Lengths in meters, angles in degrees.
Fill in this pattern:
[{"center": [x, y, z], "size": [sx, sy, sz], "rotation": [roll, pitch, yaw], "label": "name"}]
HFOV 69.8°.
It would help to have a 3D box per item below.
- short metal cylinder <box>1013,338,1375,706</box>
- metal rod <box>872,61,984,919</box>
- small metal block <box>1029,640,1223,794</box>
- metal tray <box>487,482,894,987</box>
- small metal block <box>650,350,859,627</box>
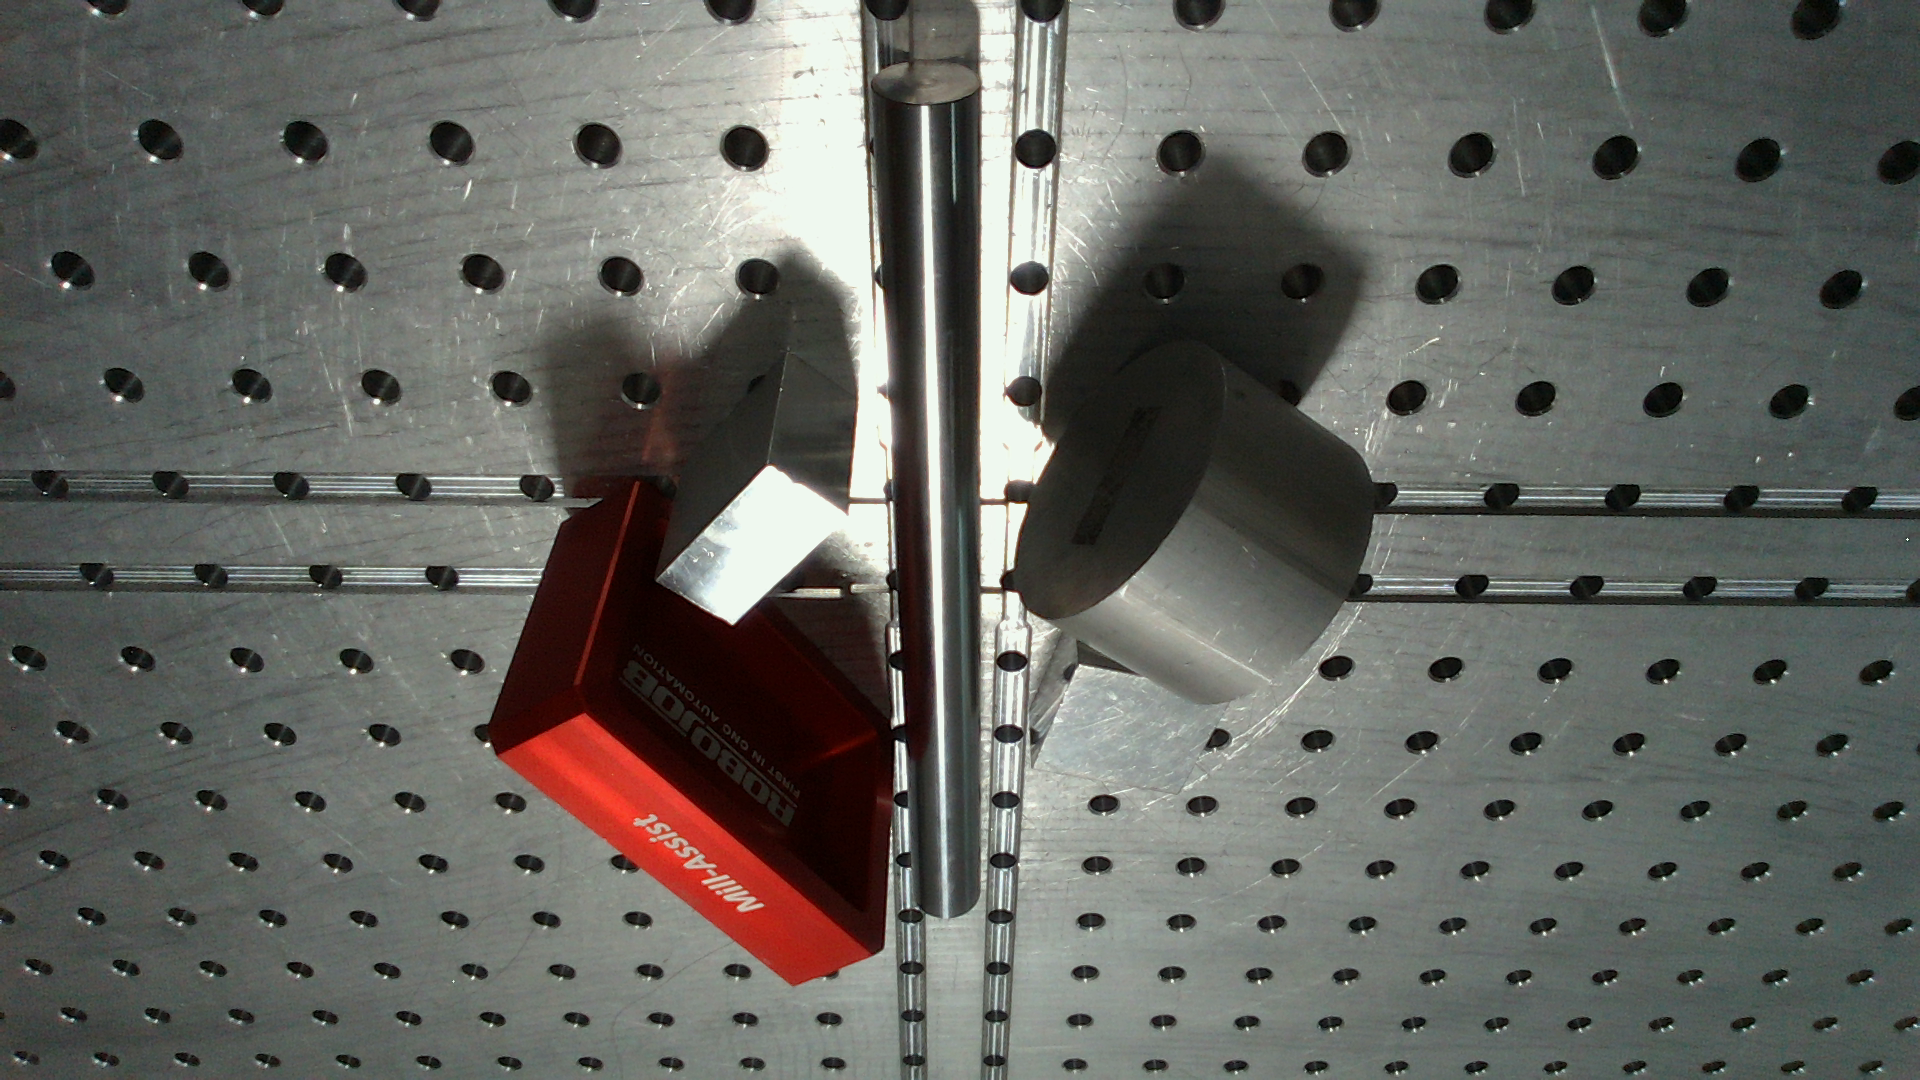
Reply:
[{"center": [0.058, -0.004, 0.354], "size": [0.050, 0.080, 0.080], "rotation": [30, 124, -23], "label": "short metal cylinder"}, {"center": [-0.006, 0.013, 0.403], "size": [0.025, 0.025, 0.300], "rotation": [0, 130, 0], "label": "metal rod"}, {"center": [0.053, 0.051, 0.438], "size": [0.050, 0.025, 0.050], "rotation": [11, 129, -10], "label": "small metal block"}, {"center": [-0.069, 0.057, 0.398], "size": [0.030, 0.090, 0.130], "rotation": [-26, 126, 20], "label": "metal tray"}, {"center": [-0.053, -0.014, 0.364], "size": [0.025, 0.050, 0.050], "rotation": [34, 122, -25], "label": "small metal block"}]
